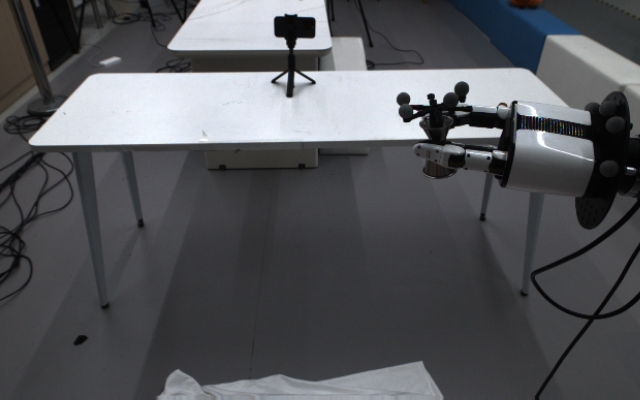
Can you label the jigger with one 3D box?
[{"bbox_3d":[0.147,-0.067,0.604,0.043,0.071,0.043,-10,32,6],"label":"jigger"}]
